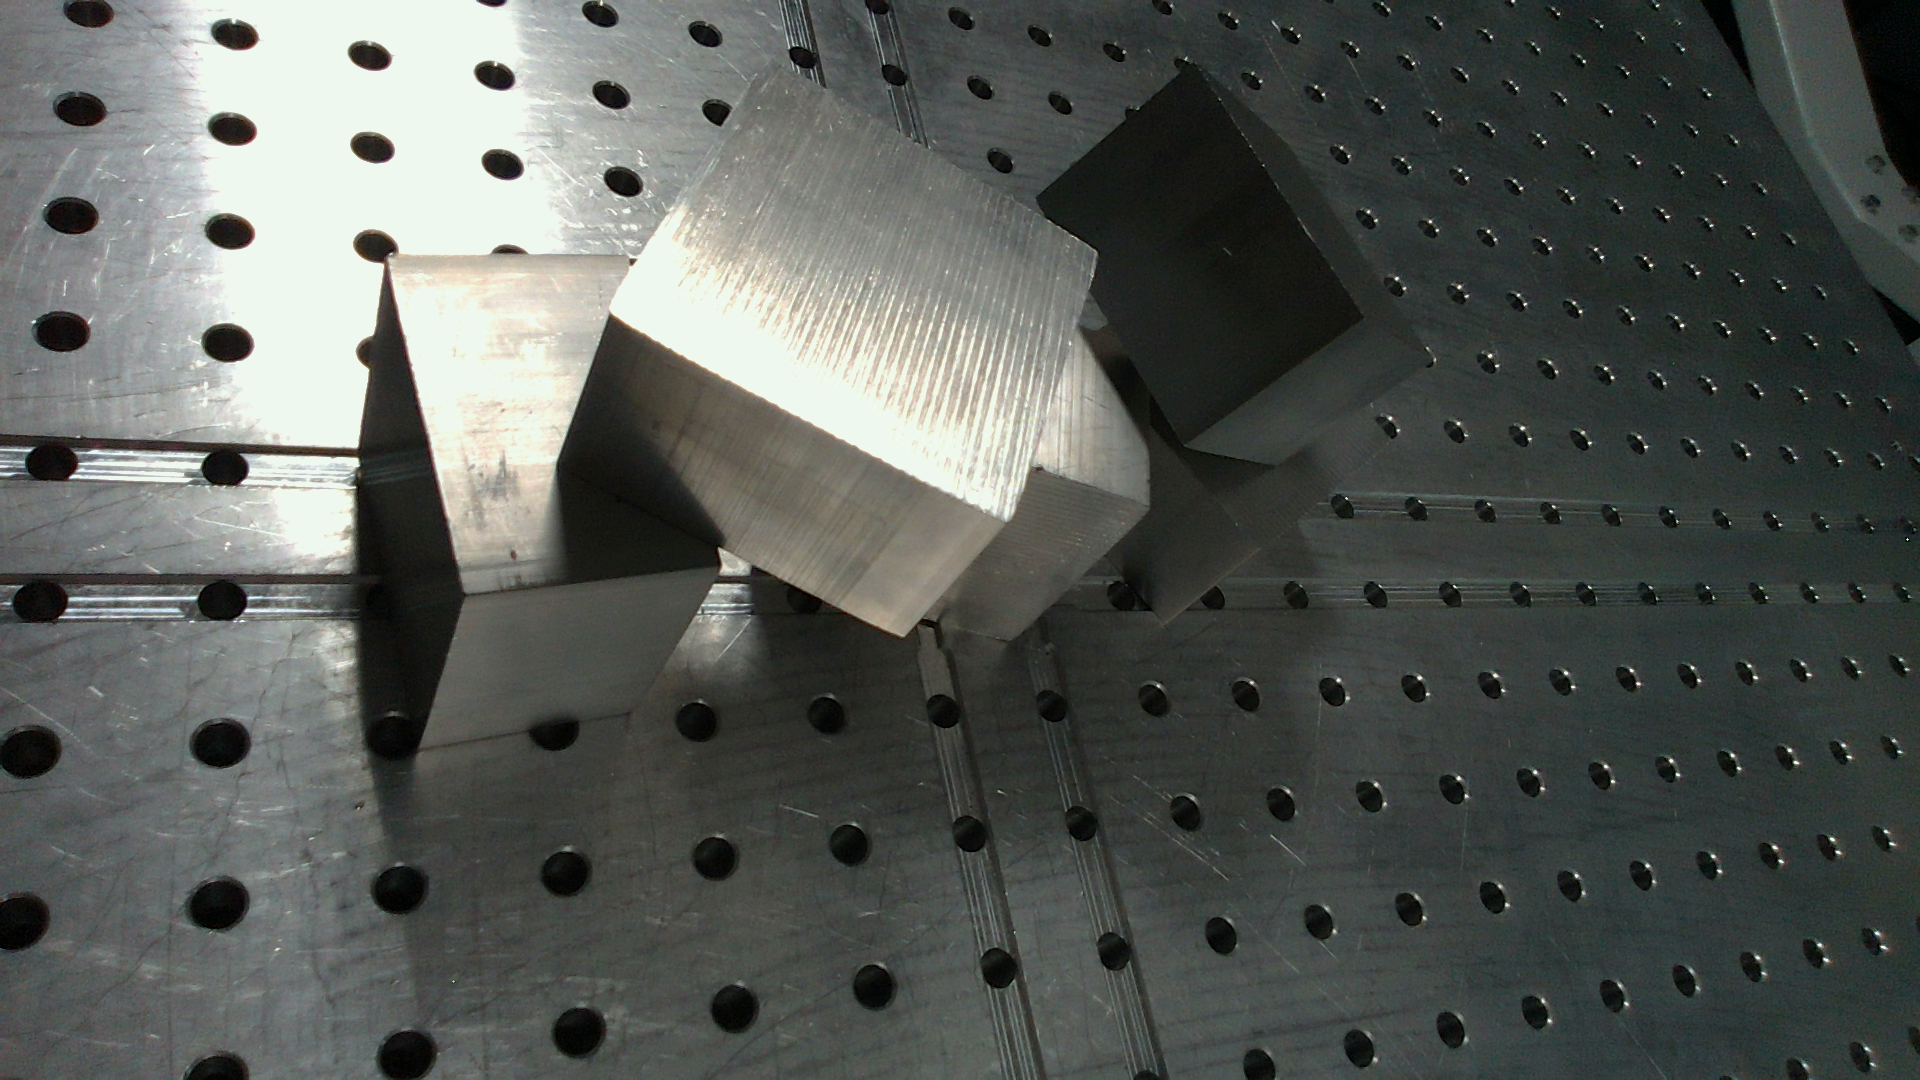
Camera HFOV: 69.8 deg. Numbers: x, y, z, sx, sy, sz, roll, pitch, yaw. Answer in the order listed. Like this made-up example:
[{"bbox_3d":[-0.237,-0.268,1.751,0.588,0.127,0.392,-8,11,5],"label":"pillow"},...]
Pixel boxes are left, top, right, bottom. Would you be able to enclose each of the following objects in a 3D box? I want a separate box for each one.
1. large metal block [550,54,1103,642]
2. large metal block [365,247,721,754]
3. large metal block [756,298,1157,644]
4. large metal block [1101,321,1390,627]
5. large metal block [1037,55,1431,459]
[{"bbox_3d":[-0.025,-0.039,0.283,0.080,0.050,0.080,27,52,-10],"label":"large metal block"},{"bbox_3d":[-0.098,-0.008,0.309,0.050,0.080,0.080,-6,65,-31],"label":"large metal block"},{"bbox_3d":[-0.003,-0.021,0.368,0.080,0.080,0.050,17,55,-18],"label":"large metal block"},{"bbox_3d":[0.075,-0.033,0.437,0.080,0.050,0.080,-34,81,-38],"label":"large metal block"},{"bbox_3d":[0.076,-0.072,0.374,0.080,0.050,0.080,2,56,-61],"label":"large metal block"}]
